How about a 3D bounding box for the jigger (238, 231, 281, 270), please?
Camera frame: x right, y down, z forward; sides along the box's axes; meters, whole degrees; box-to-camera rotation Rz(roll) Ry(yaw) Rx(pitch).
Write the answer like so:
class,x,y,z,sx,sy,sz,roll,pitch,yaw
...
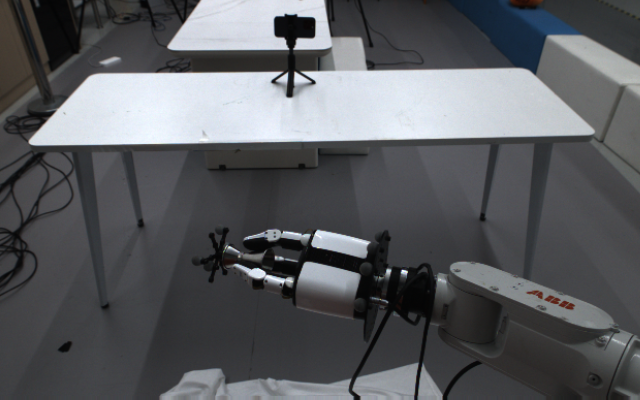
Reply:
class,x,y,z,sx,sy,sz,roll,pitch,yaw
jigger,-0.103,0.082,0.731,0.071,0.043,0.043,5,34,19
